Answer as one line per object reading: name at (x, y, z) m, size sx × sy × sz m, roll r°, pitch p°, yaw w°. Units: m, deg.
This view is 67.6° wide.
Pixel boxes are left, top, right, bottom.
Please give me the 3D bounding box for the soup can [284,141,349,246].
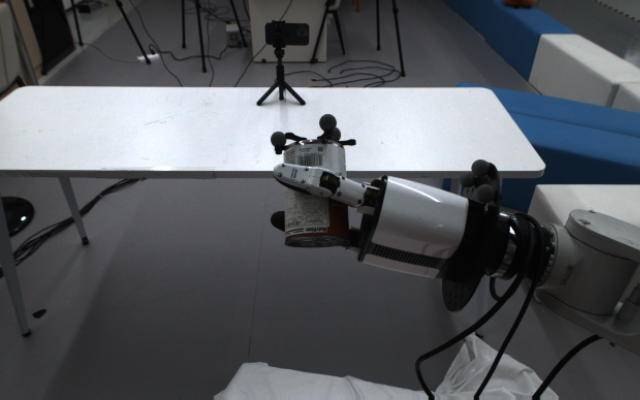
soup can at (-0.001, -0.006, 0.506) m, size 0.067 × 0.067 × 0.101 m, roll -2°, pitch 76°, yaw -6°
